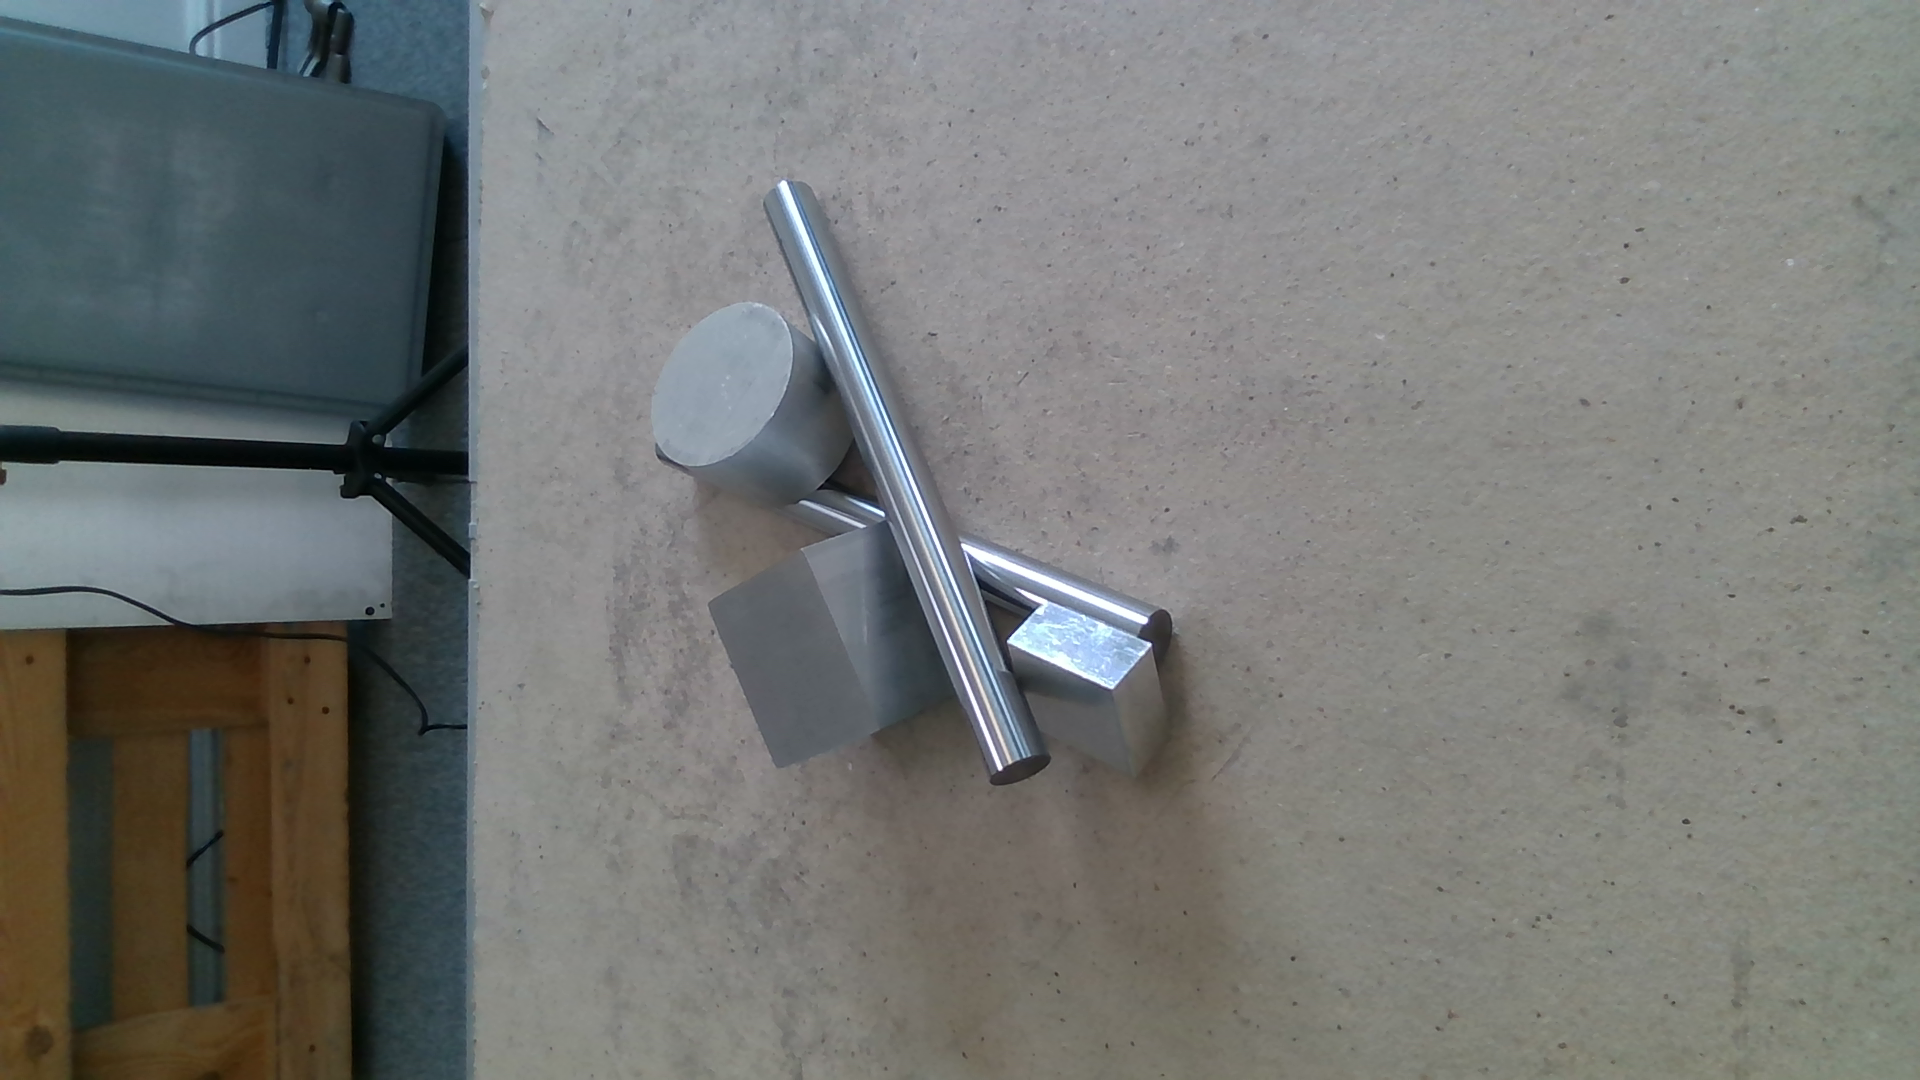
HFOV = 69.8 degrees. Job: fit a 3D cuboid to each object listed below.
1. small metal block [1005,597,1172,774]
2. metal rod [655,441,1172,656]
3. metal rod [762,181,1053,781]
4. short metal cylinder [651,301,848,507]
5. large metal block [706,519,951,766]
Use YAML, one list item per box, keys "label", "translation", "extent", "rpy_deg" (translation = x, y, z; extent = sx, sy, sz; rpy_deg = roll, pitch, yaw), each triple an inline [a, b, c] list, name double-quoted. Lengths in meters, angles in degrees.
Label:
- label: "small metal block"
  translation: [0.050, 0.055, 0.525]
  extent: [0.050, 0.025, 0.050]
  rpy_deg: [21, 144, 38]
- label: "metal rod"
  translation: [-0.037, -0.006, 0.613]
  extent: [0.300, 0.025, 0.025]
  rpy_deg: [22, 104, 38]
- label: "metal rod"
  translation: [-0.029, -0.037, 0.584]
  extent: [0.025, 0.025, 0.299]
  rpy_deg: [-42, 58, 33]
- label: "short metal cylinder"
  translation: [-0.094, -0.061, 0.628]
  extent: [0.080, 0.050, 0.080]
  rpy_deg: [-13, 63, 28]
- label: "large metal block"
  translation: [-0.055, 0.044, 0.594]
  extent: [0.080, 0.050, 0.080]
  rpy_deg: [-27, 86, 47]
